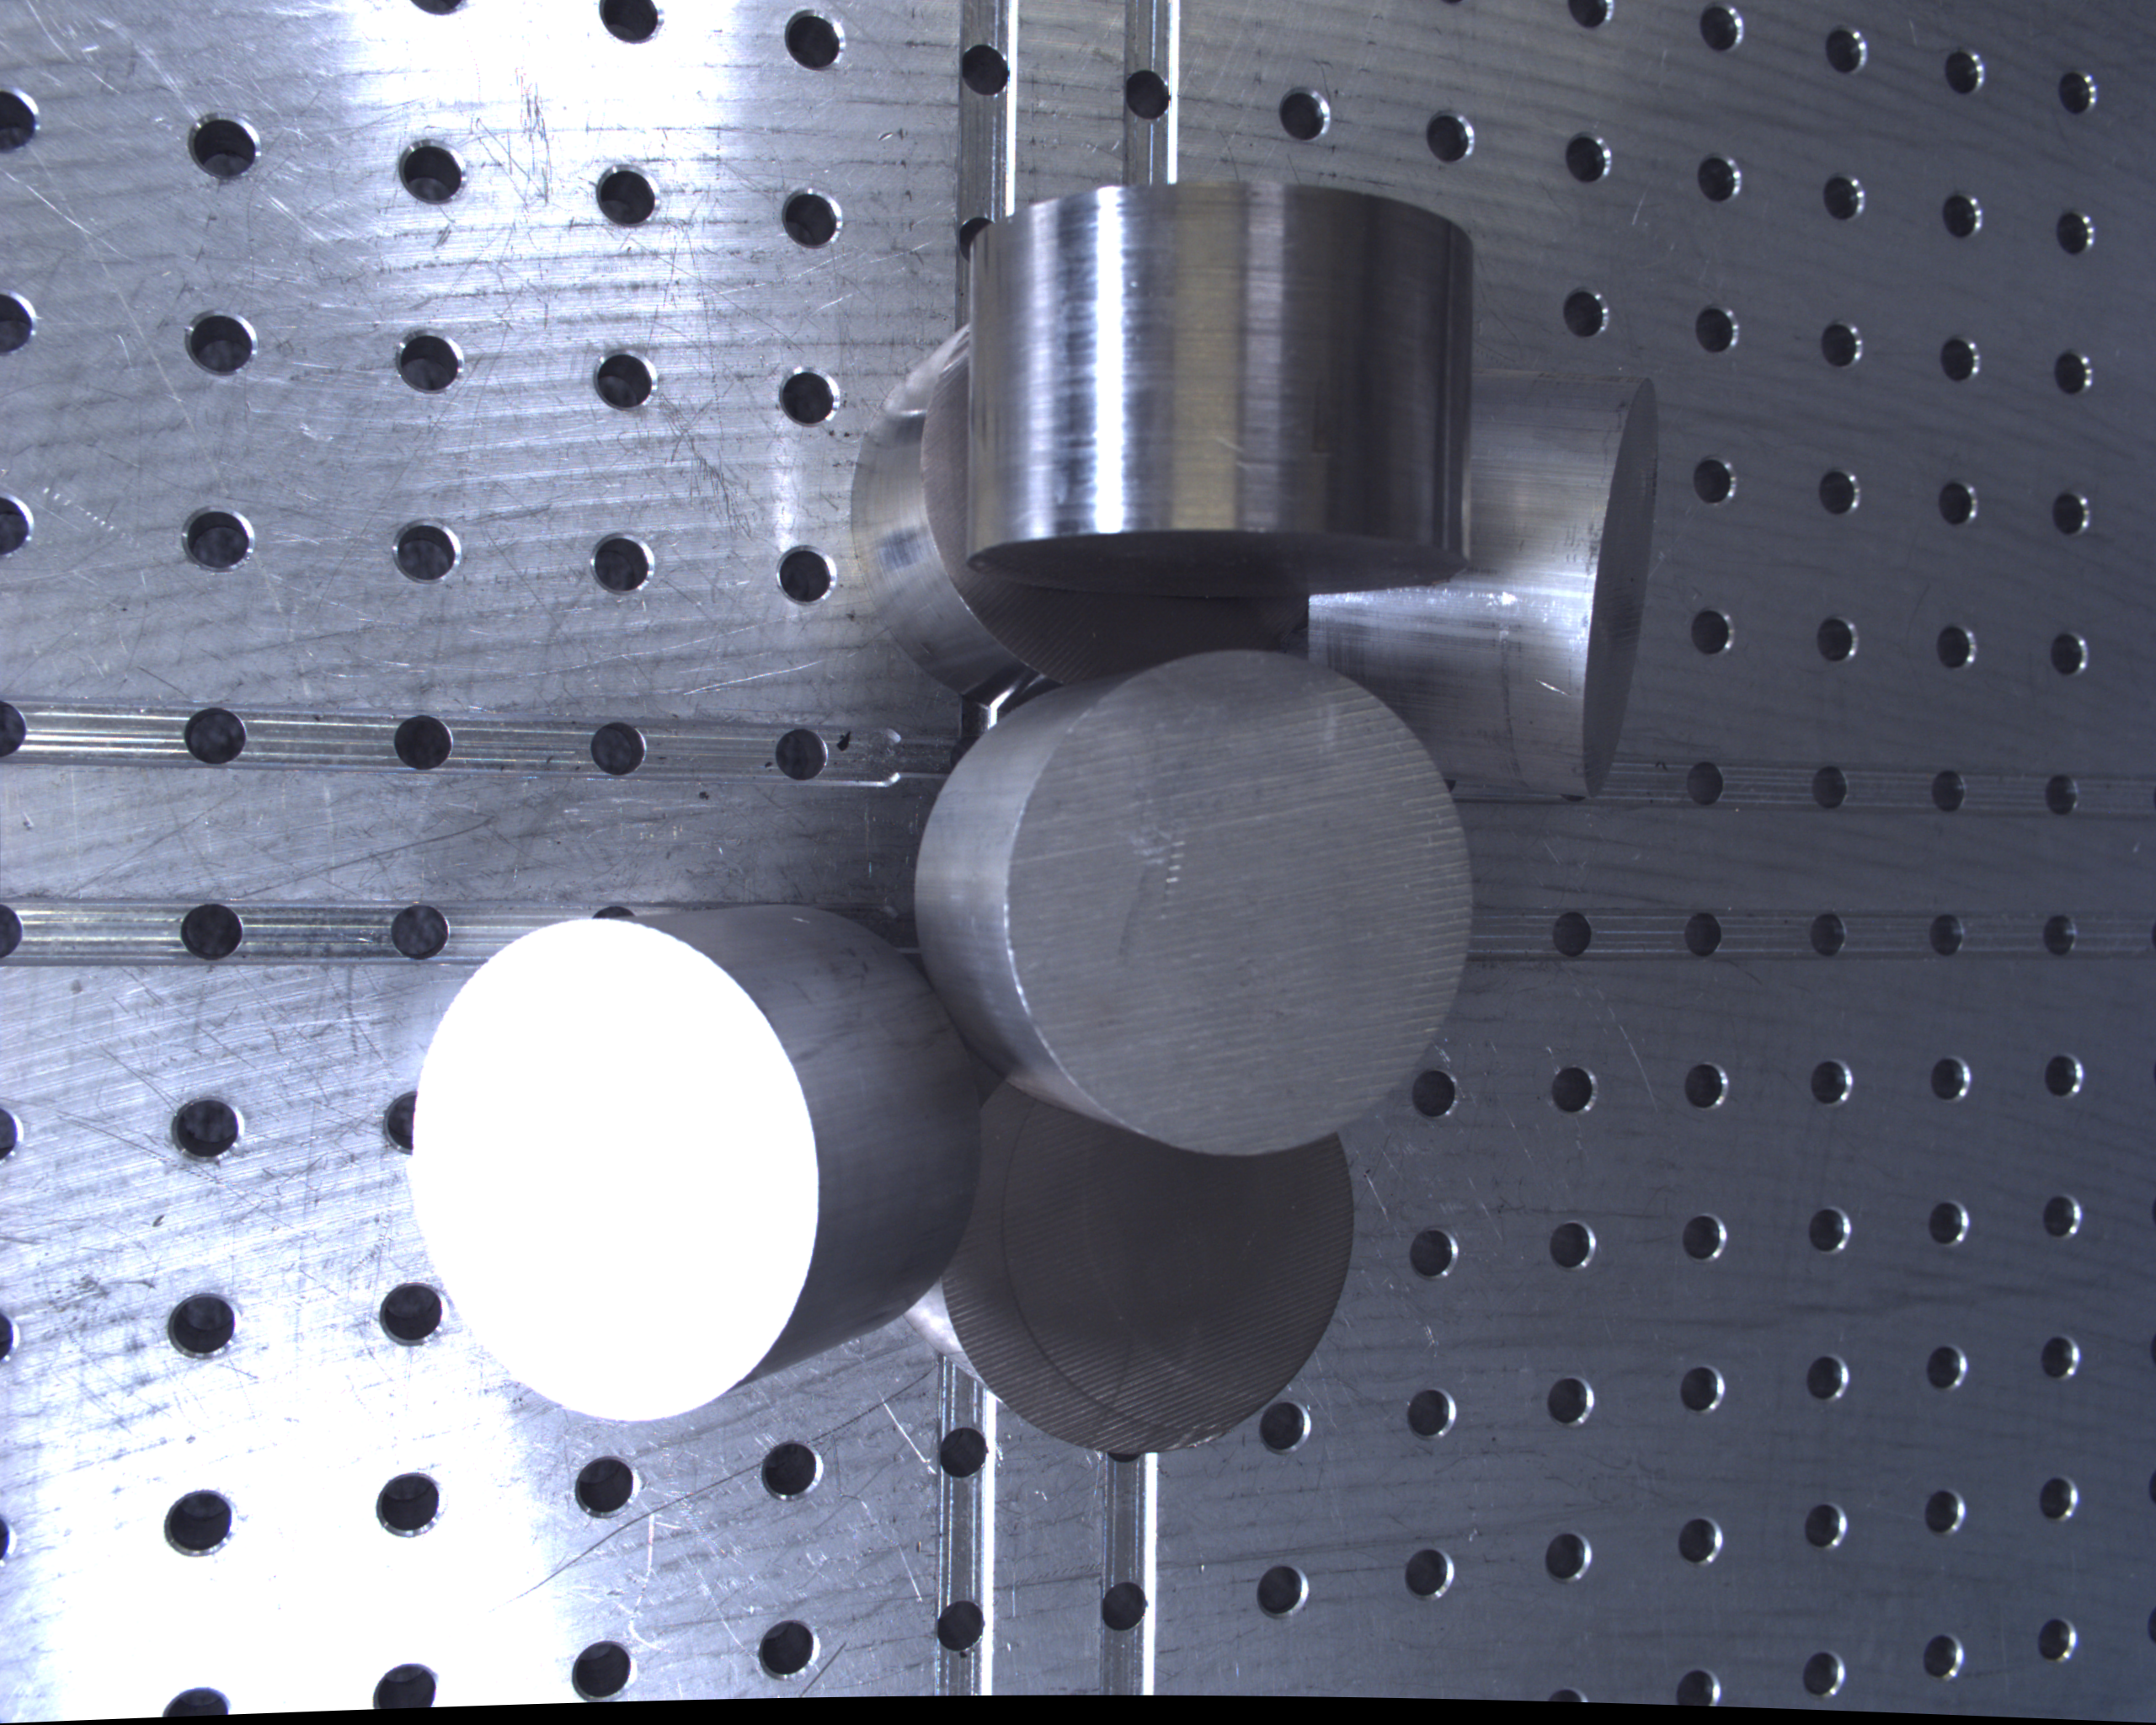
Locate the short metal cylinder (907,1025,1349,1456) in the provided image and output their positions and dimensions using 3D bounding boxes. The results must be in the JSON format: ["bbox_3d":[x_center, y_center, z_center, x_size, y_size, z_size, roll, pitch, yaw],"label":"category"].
[{"bbox_3d":[0.004,0.067,0.400,0.081,0.050,0.079,0,91,-20],"label":"short metal cylinder"}]

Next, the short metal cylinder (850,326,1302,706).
[{"bbox_3d":[0.002,-0.069,0.399,0.081,0.050,0.079,0,91,-20],"label":"short metal cylinder"}]

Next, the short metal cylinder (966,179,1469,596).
[{"bbox_3d":[0.022,-0.073,0.337,0.081,0.080,0.050,0,90,-20],"label":"short metal cylinder"}]

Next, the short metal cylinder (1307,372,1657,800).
[{"bbox_3d":[0.080,-0.055,0.405,0.050,0.080,0.080,9,86,21],"label":"short metal cylinder"}]

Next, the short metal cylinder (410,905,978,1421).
[{"bbox_3d":[-0.064,0.048,0.354,0.050,0.080,0.079,-4,92,-64],"label":"short metal cylinder"}]

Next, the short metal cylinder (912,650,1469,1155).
[{"bbox_3d":[0.018,0.006,0.352,0.081,0.050,0.079,0,90,-20],"label":"short metal cylinder"}]
